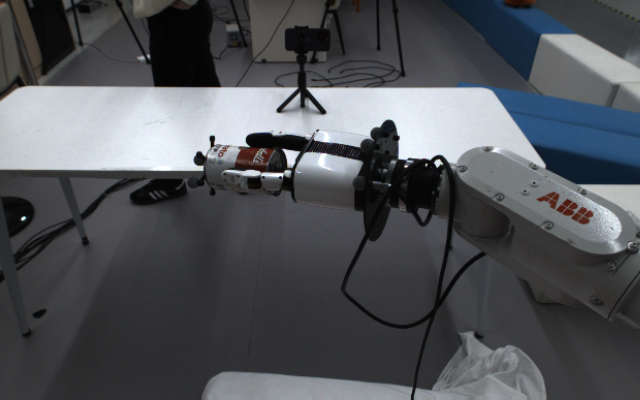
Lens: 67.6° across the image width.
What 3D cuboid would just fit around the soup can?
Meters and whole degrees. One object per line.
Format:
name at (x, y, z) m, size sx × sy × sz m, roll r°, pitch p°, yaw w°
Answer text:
soup can at (-0.105, -0.043, 0.696) m, size 0.101 × 0.067 × 0.067 m, roll 6°, pitch 34°, yaw 18°
